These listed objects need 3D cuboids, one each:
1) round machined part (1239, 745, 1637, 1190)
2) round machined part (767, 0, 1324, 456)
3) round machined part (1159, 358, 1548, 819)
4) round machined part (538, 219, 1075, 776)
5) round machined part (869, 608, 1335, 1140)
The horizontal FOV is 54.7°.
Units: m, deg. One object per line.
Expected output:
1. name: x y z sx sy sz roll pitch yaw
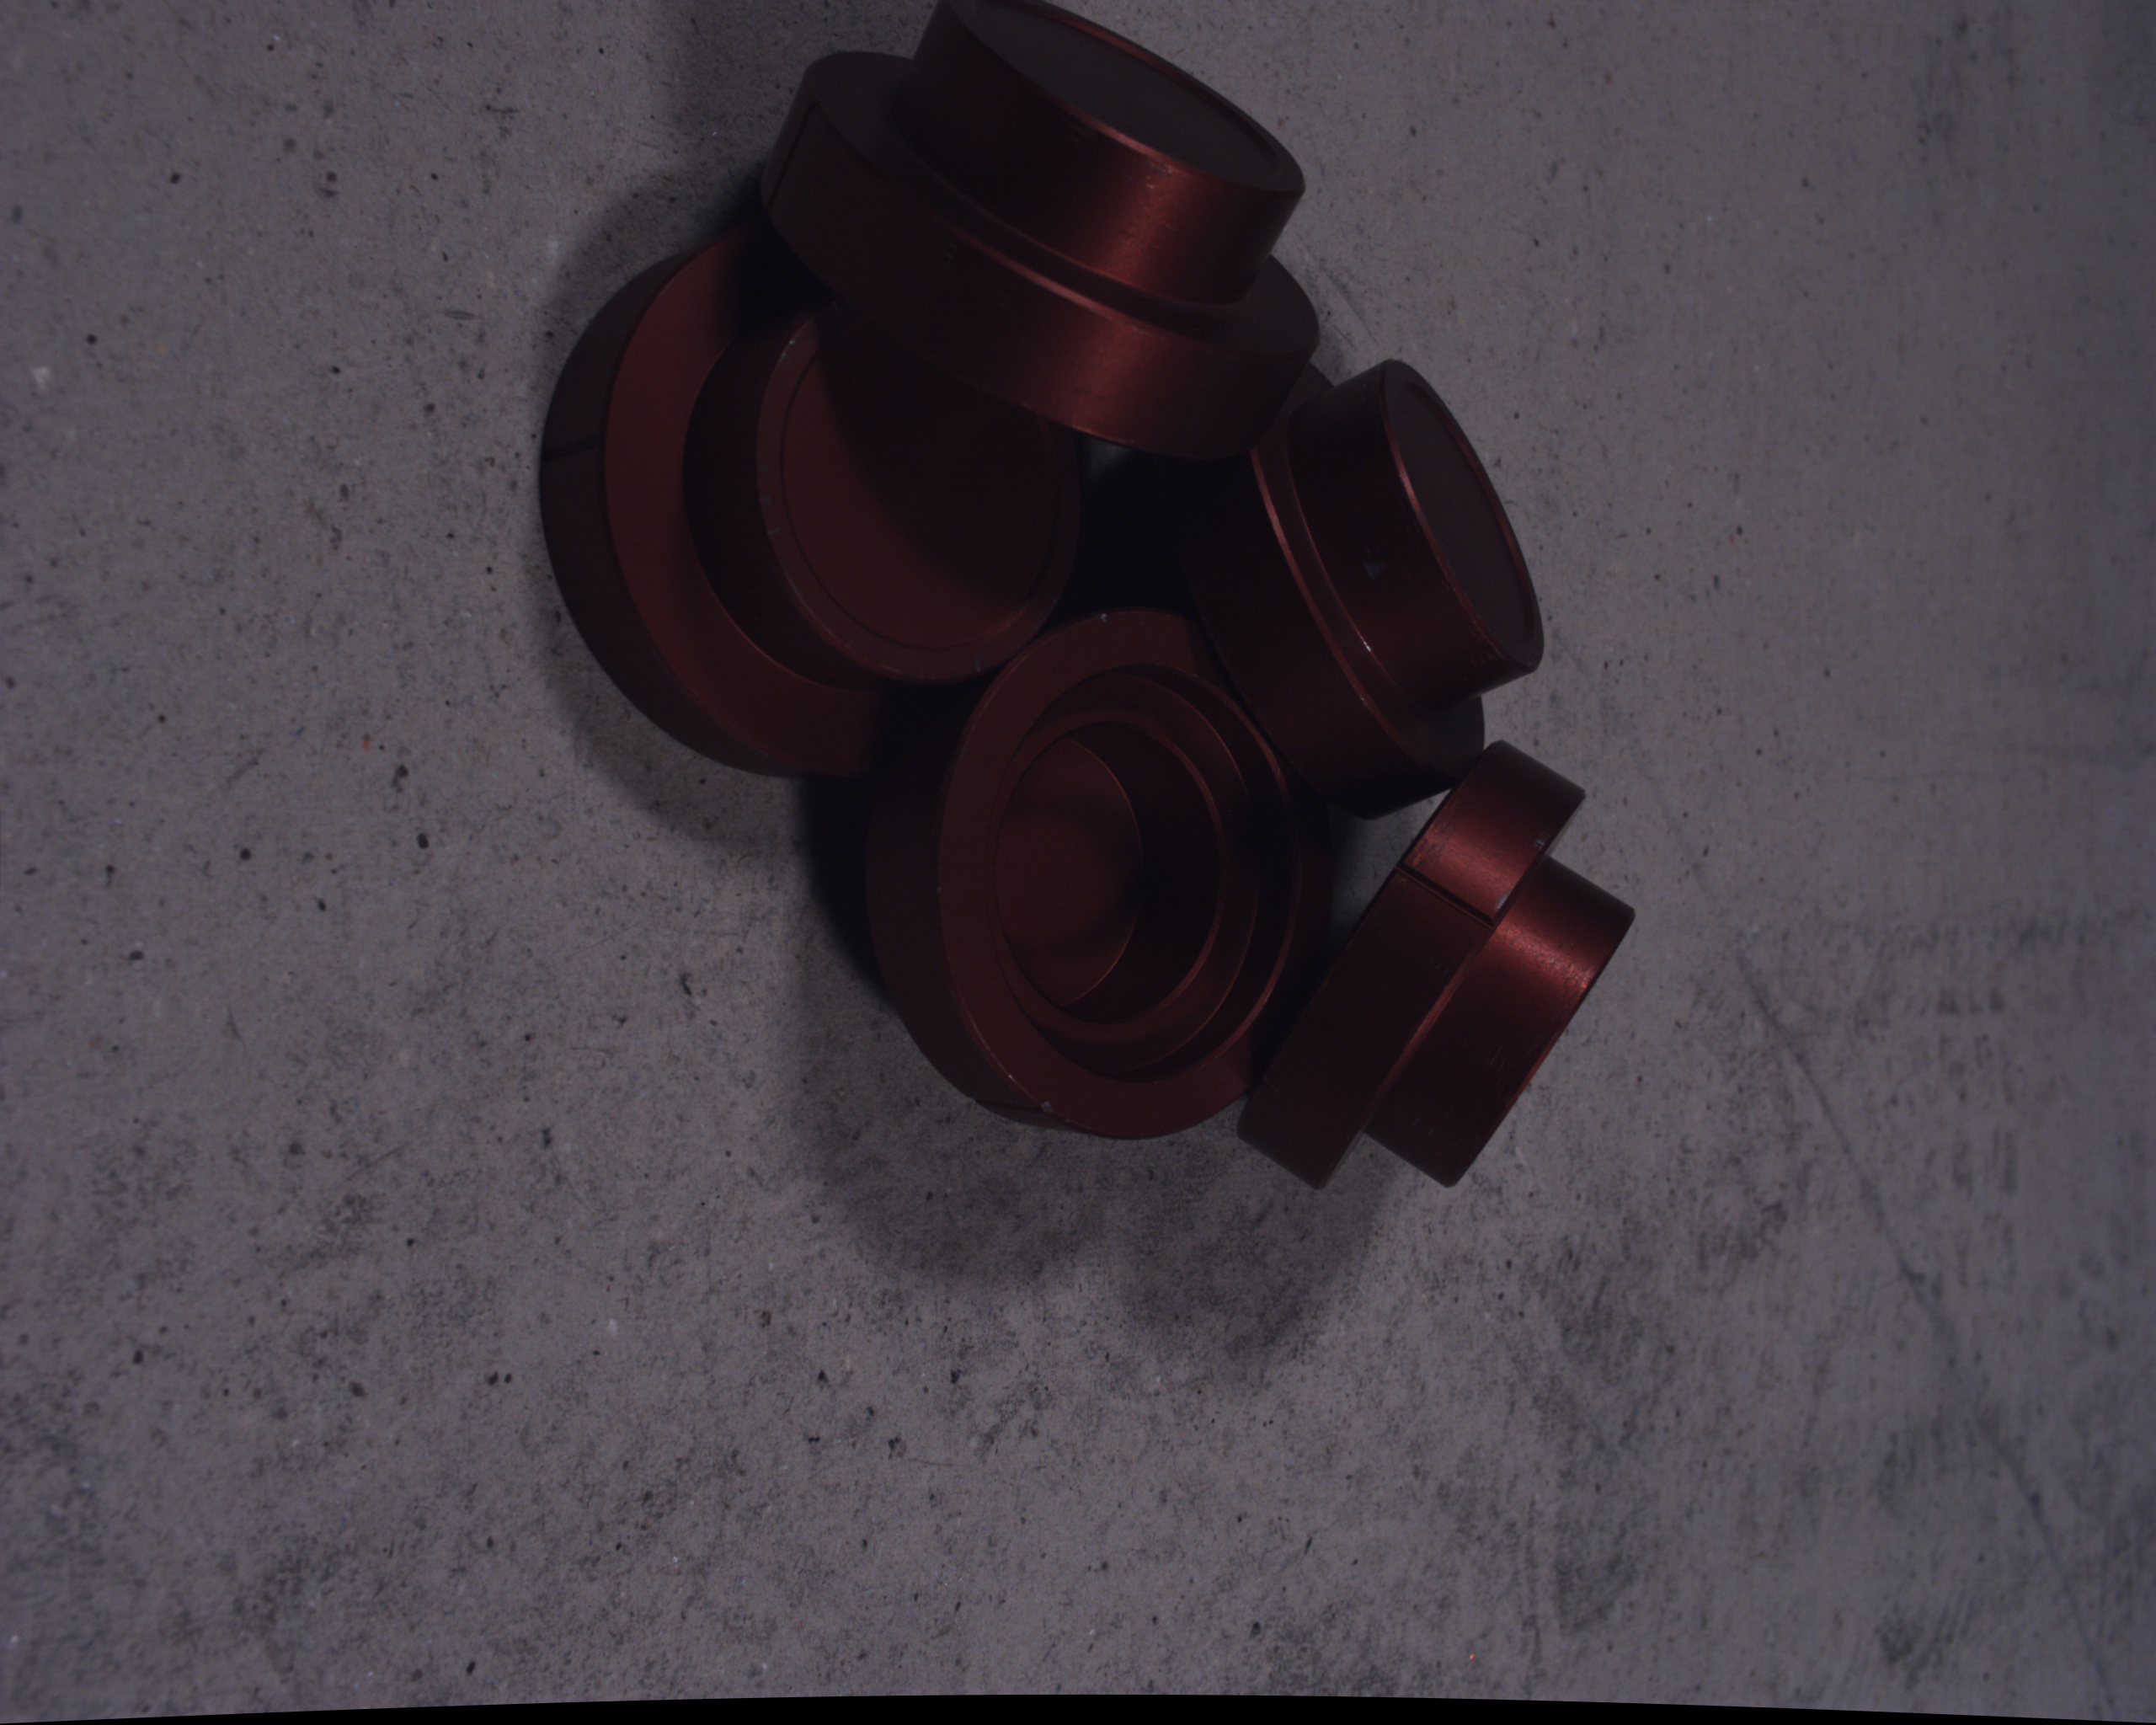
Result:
1. round machined part: 0.078 0.028 0.427 0.042 0.098 0.098 34 62 9
2. round machined part: 0.000 -0.115 0.359 0.099 0.098 0.042 1 131 -40
3. round machined part: 0.060 -0.061 0.419 0.098 0.042 0.098 44 33 -38
4. round machined part: -0.040 -0.064 0.365 0.099 0.042 0.097 0 90 -40
5. round machined part: 0.000 0.002 0.397 0.099 0.042 0.097 0 90 -40
